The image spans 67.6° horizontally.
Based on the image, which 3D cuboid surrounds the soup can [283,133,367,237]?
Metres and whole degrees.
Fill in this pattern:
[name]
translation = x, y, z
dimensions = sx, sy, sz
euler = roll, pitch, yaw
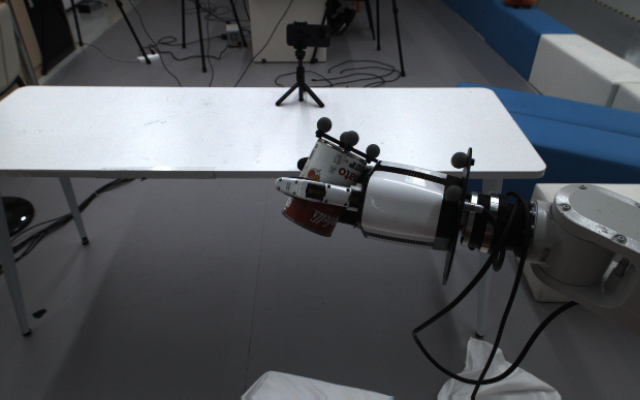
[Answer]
[soup can]
translation = 0.007, -0.015, 0.583
dimensions = 0.067, 0.101, 0.067
euler = 26, 6, -3
